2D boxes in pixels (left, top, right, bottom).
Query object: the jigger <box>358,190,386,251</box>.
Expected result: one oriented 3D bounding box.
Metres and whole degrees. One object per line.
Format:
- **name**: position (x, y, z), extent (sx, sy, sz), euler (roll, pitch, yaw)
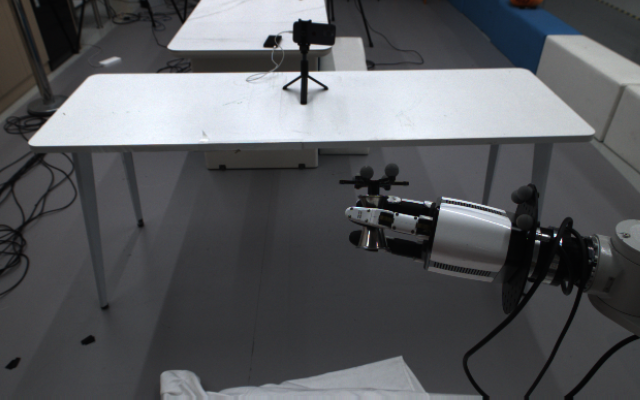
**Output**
- **jigger**: position (0.068, 0.028, 0.623), extent (0.043, 0.071, 0.043), euler (1, -6, 0)
